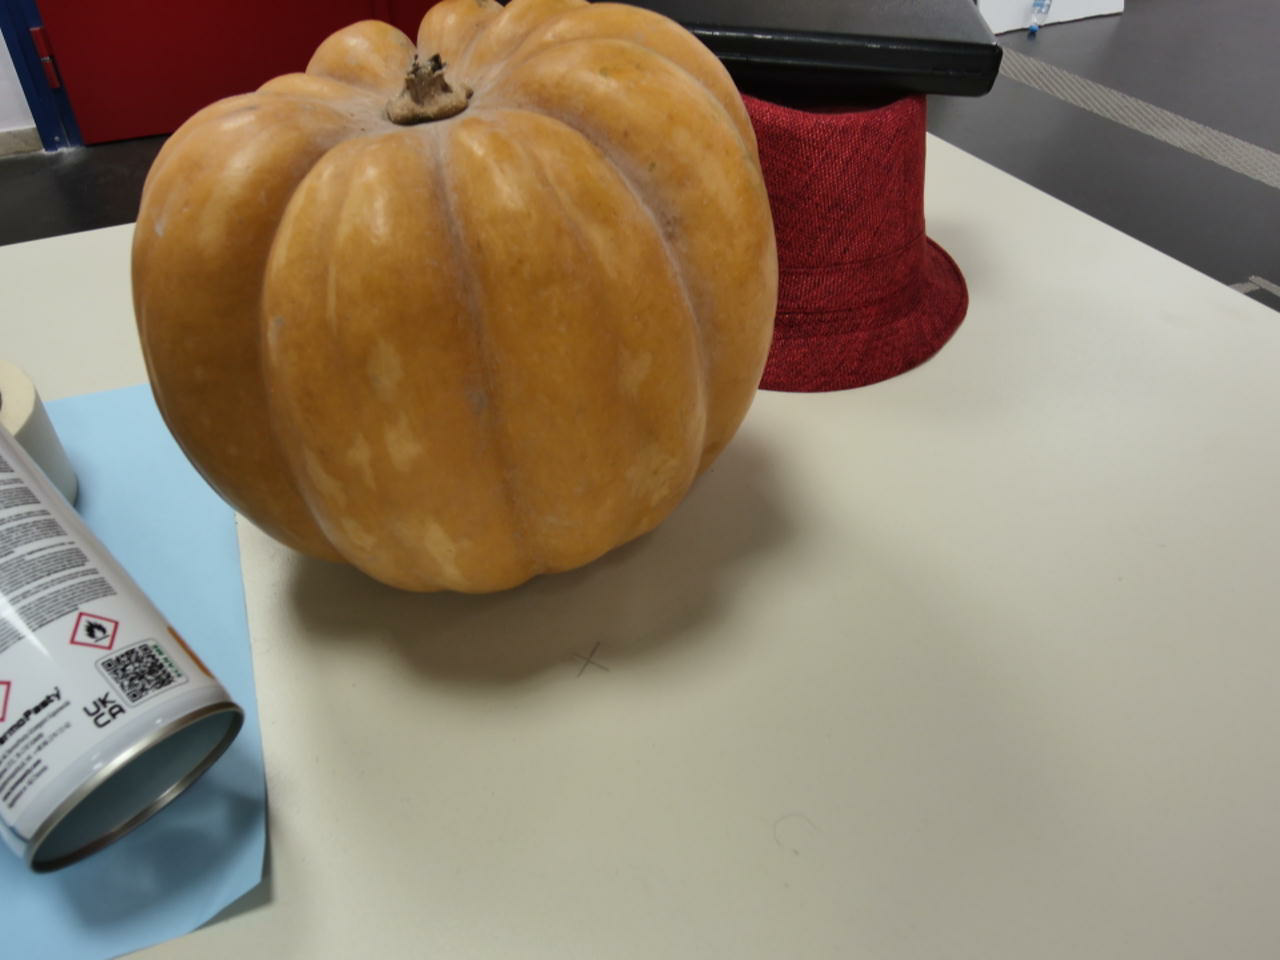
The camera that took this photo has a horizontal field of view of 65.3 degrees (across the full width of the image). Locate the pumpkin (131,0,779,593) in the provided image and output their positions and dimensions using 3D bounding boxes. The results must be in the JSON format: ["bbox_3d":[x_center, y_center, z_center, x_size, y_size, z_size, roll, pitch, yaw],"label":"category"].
[{"bbox_3d":[-0.060,-0.067,0.372,0.230,0.194,0.230,0,38,0],"label":"pumpkin"}]
